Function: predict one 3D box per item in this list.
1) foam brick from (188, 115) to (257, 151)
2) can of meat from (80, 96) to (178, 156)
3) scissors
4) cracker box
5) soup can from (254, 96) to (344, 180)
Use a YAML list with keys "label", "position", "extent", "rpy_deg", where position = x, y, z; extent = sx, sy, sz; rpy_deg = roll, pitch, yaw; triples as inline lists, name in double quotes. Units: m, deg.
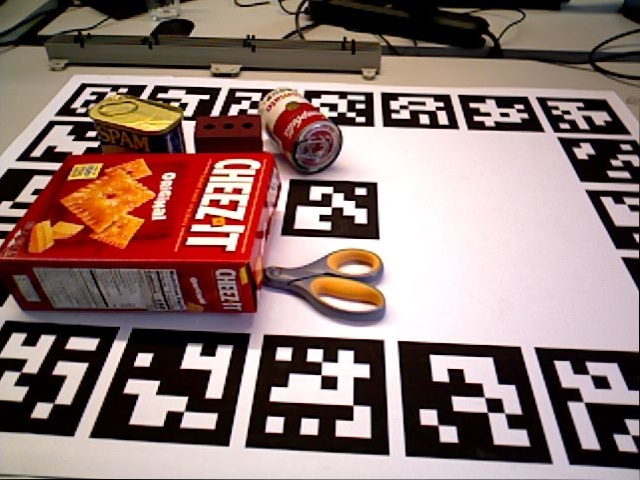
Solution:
- label: "foam brick"
  position: [-0.111, -0.108, 0.633]
  extent: [0.077, 0.052, 0.052]
  rpy_deg: [-5, 45, -6]
- label: "can of meat"
  position: [-0.207, -0.103, 0.601]
  extent: [0.102, 0.085, 0.056]
  rpy_deg: [12, 45, 12]
- label: "scissors"
  position: [-0.047, 0.040, 0.487]
  extent: [0.202, 0.016, 0.086]
  rpy_deg: [-1, 44, -1]
- label: "cracker box"
  position: [-0.160, -0.011, 0.495]
  extent: [0.213, 0.073, 0.161]
  rpy_deg: [-4, 43, 1]
- label: "soup can"
  position: [-0.028, -0.124, 0.649]
  extent: [0.066, 0.069, 0.102]
  rpy_deg: [-26, 44, -25]
